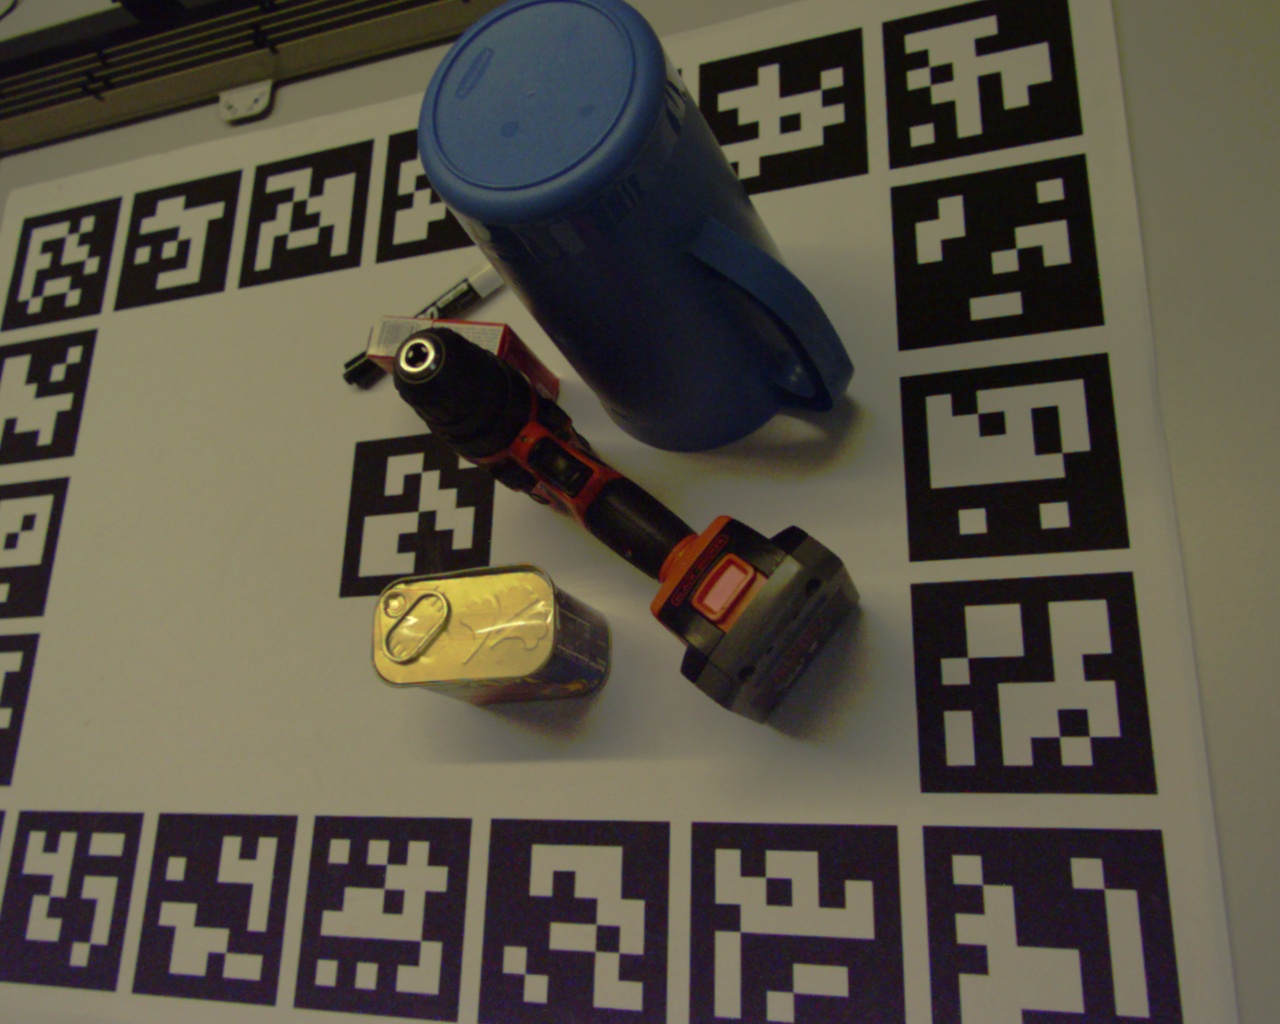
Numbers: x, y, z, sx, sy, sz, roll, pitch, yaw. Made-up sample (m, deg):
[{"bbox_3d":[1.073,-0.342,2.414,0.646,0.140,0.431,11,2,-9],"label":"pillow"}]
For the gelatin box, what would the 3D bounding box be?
[{"bbox_3d":[-0.101,-0.081,0.696,0.090,0.072,0.030,5,80,21],"label":"gelatin box"}]

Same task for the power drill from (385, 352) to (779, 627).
[{"bbox_3d":[-0.027,-0.011,0.585,0.189,0.183,0.057,31,90,20],"label":"power drill"}]

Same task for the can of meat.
[{"bbox_3d":[-0.075,0.071,0.631,0.103,0.083,0.058,-8,70,19],"label":"can of meat"}]

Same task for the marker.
[{"bbox_3d":[-0.145,-0.121,0.751,0.121,0.019,0.020,-33,66,11],"label":"marker"}]

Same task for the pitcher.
[{"bbox_3d":[0.009,-0.121,0.579,0.191,0.239,0.133,28,89,32],"label":"pitcher"}]
